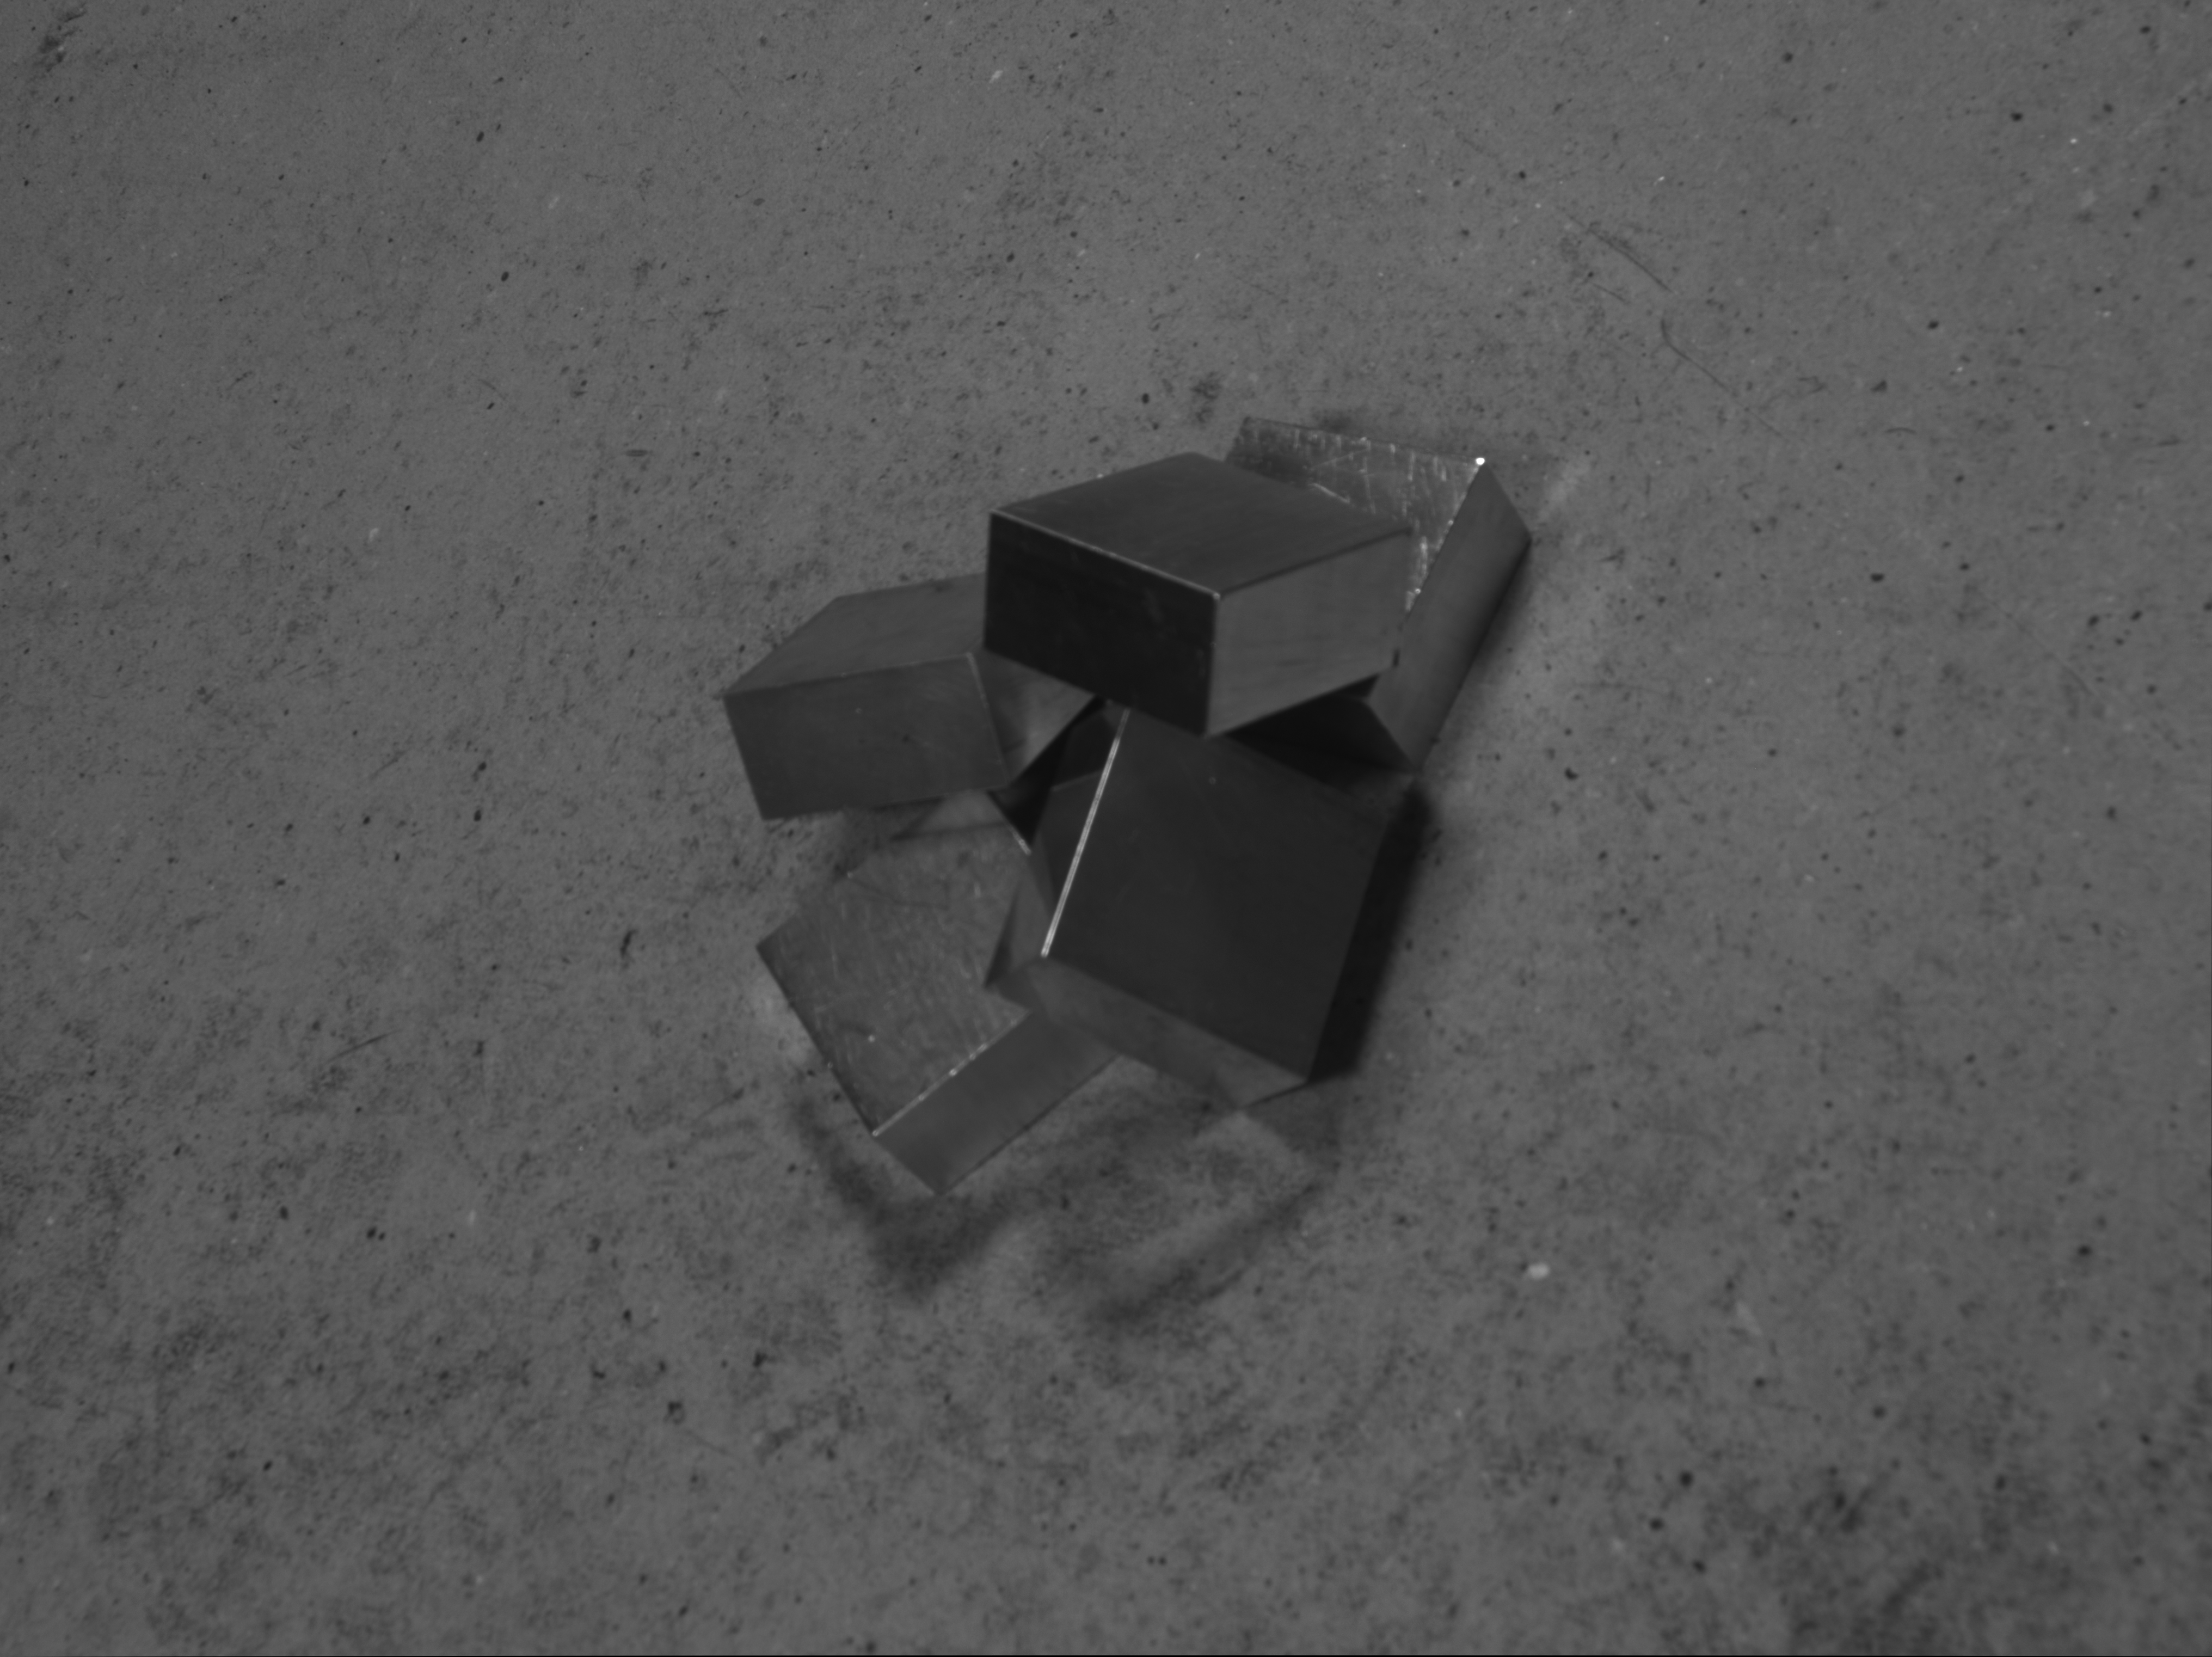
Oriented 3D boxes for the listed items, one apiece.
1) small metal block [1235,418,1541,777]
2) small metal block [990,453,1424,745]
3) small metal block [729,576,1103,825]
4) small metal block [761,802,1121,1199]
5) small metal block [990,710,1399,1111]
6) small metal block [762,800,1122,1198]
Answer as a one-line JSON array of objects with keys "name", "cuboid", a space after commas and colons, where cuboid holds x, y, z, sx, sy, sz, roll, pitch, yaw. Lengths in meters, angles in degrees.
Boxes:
[{"name": "small metal block", "cuboid": [0.041, -0.041, 0.648, 0.050, 0.025, 0.050, 15, 69, 34]}, {"name": "small metal block", "cuboid": [0.017, -0.039, 0.610, 0.050, 0.025, 0.050, 24, 31, 36]}, {"name": "small metal block", "cuboid": [-0.032, -0.025, 0.661, 0.050, 0.025, 0.050, -7, 20, 24]}, {"name": "small metal block", "cuboid": [-0.025, 0.027, 0.641, 0.050, 0.025, 0.050, -38, 50, 2]}, {"name": "small metal block", "cuboid": [0.015, 0.012, 0.610, 0.025, 0.050, 0.050, -31, 37, 61]}, {"name": "small metal block", "cuboid": [-0.025, 0.027, 0.641, 0.050, 0.025, 0.050, -38, 51, 2]}]
